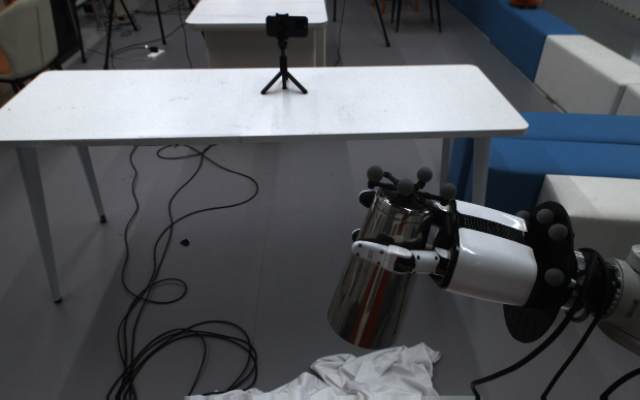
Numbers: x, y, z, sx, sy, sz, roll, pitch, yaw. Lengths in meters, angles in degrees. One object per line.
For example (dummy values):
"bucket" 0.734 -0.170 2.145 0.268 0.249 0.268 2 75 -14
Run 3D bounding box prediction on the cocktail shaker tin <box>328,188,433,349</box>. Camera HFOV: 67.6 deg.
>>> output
"cocktail shaker tin" 0.077 0.071 0.554 0.093 0.170 0.093 12 24 -6
